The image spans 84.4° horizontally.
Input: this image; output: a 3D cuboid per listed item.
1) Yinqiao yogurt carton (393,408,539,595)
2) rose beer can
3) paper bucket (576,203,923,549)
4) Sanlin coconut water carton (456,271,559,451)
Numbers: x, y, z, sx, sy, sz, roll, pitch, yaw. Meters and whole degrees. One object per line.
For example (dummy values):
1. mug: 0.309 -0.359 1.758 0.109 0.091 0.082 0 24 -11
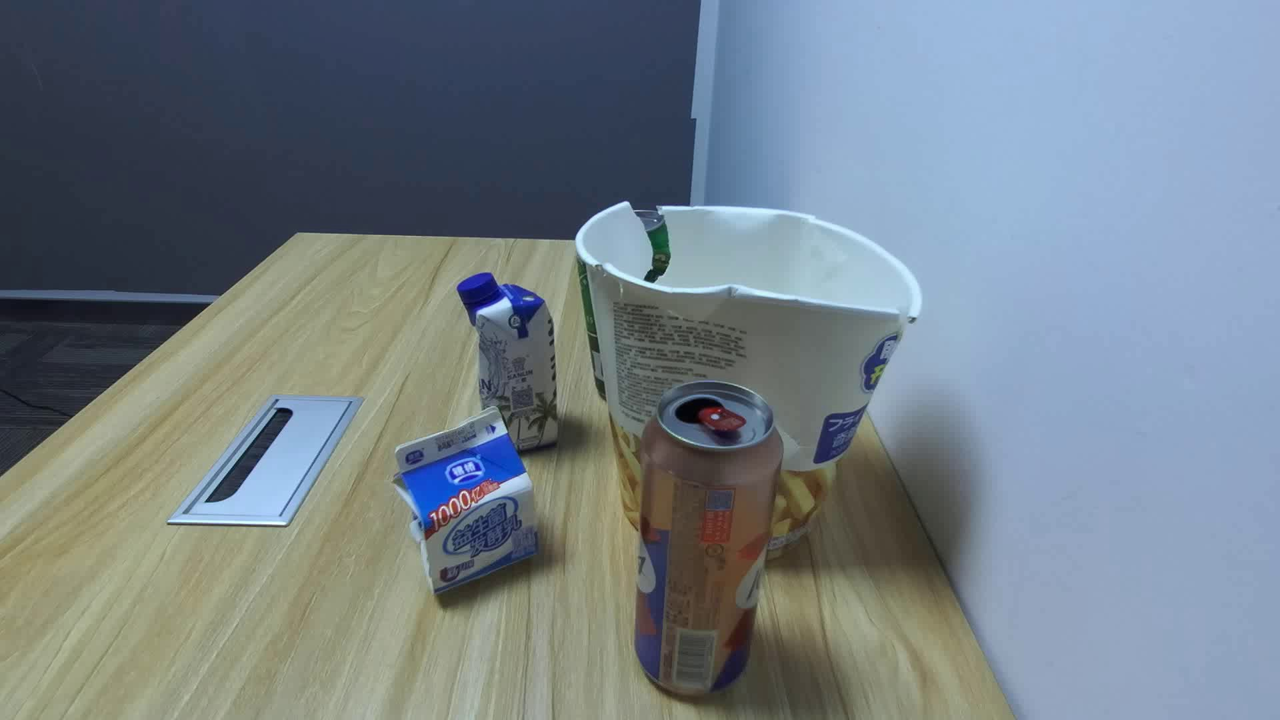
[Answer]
1. Yinqiao yogurt carton: -0.117 0.083 0.455 0.075 0.097 0.080 -19 28 -32
2. rose beer can: 0.033 0.097 0.366 0.068 0.169 0.068 1 31 0
3. paper bucket: 0.057 0.012 0.476 0.202 0.197 0.146 6 30 6
4. Sanlin coconut water carton: -0.098 -0.001 0.550 0.070 0.144 0.060 -10 31 -16
